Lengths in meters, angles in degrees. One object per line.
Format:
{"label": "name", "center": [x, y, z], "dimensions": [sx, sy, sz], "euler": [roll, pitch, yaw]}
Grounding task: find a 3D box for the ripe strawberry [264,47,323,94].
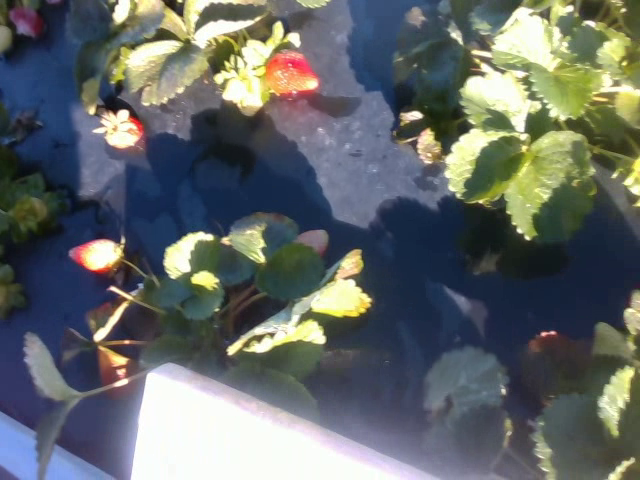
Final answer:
{"label": "ripe strawberry", "center": [-0.021, -0.149, 0.606], "dimensions": [0.064, 0.049, 0.052], "euler": [29, 21, 31]}
